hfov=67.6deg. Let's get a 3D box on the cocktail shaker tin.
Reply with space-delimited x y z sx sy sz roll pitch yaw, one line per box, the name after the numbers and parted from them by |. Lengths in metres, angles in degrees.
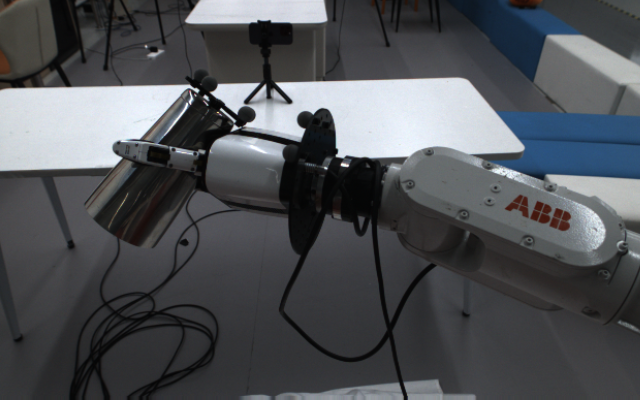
-0.175 -0.039 0.552 0.170 0.093 0.093 -50 46 4 | cocktail shaker tin
